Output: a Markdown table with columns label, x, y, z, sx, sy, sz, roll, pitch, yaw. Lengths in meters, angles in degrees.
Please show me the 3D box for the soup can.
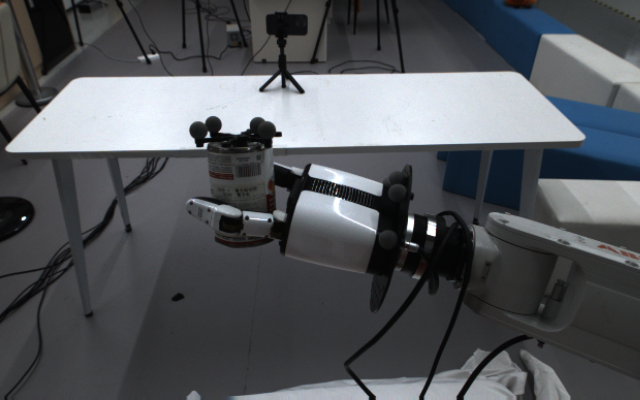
| label | x | y | z | sx | sy | sz | roll | pitch | yaw |
| --- | --- | --- | --- | --- | --- | --- | --- | --- | --- |
| soup can | -0.078 | -0.008 | 0.502 | 0.067 | 0.101 | 0.067 | -1 | 17 | 0 |
